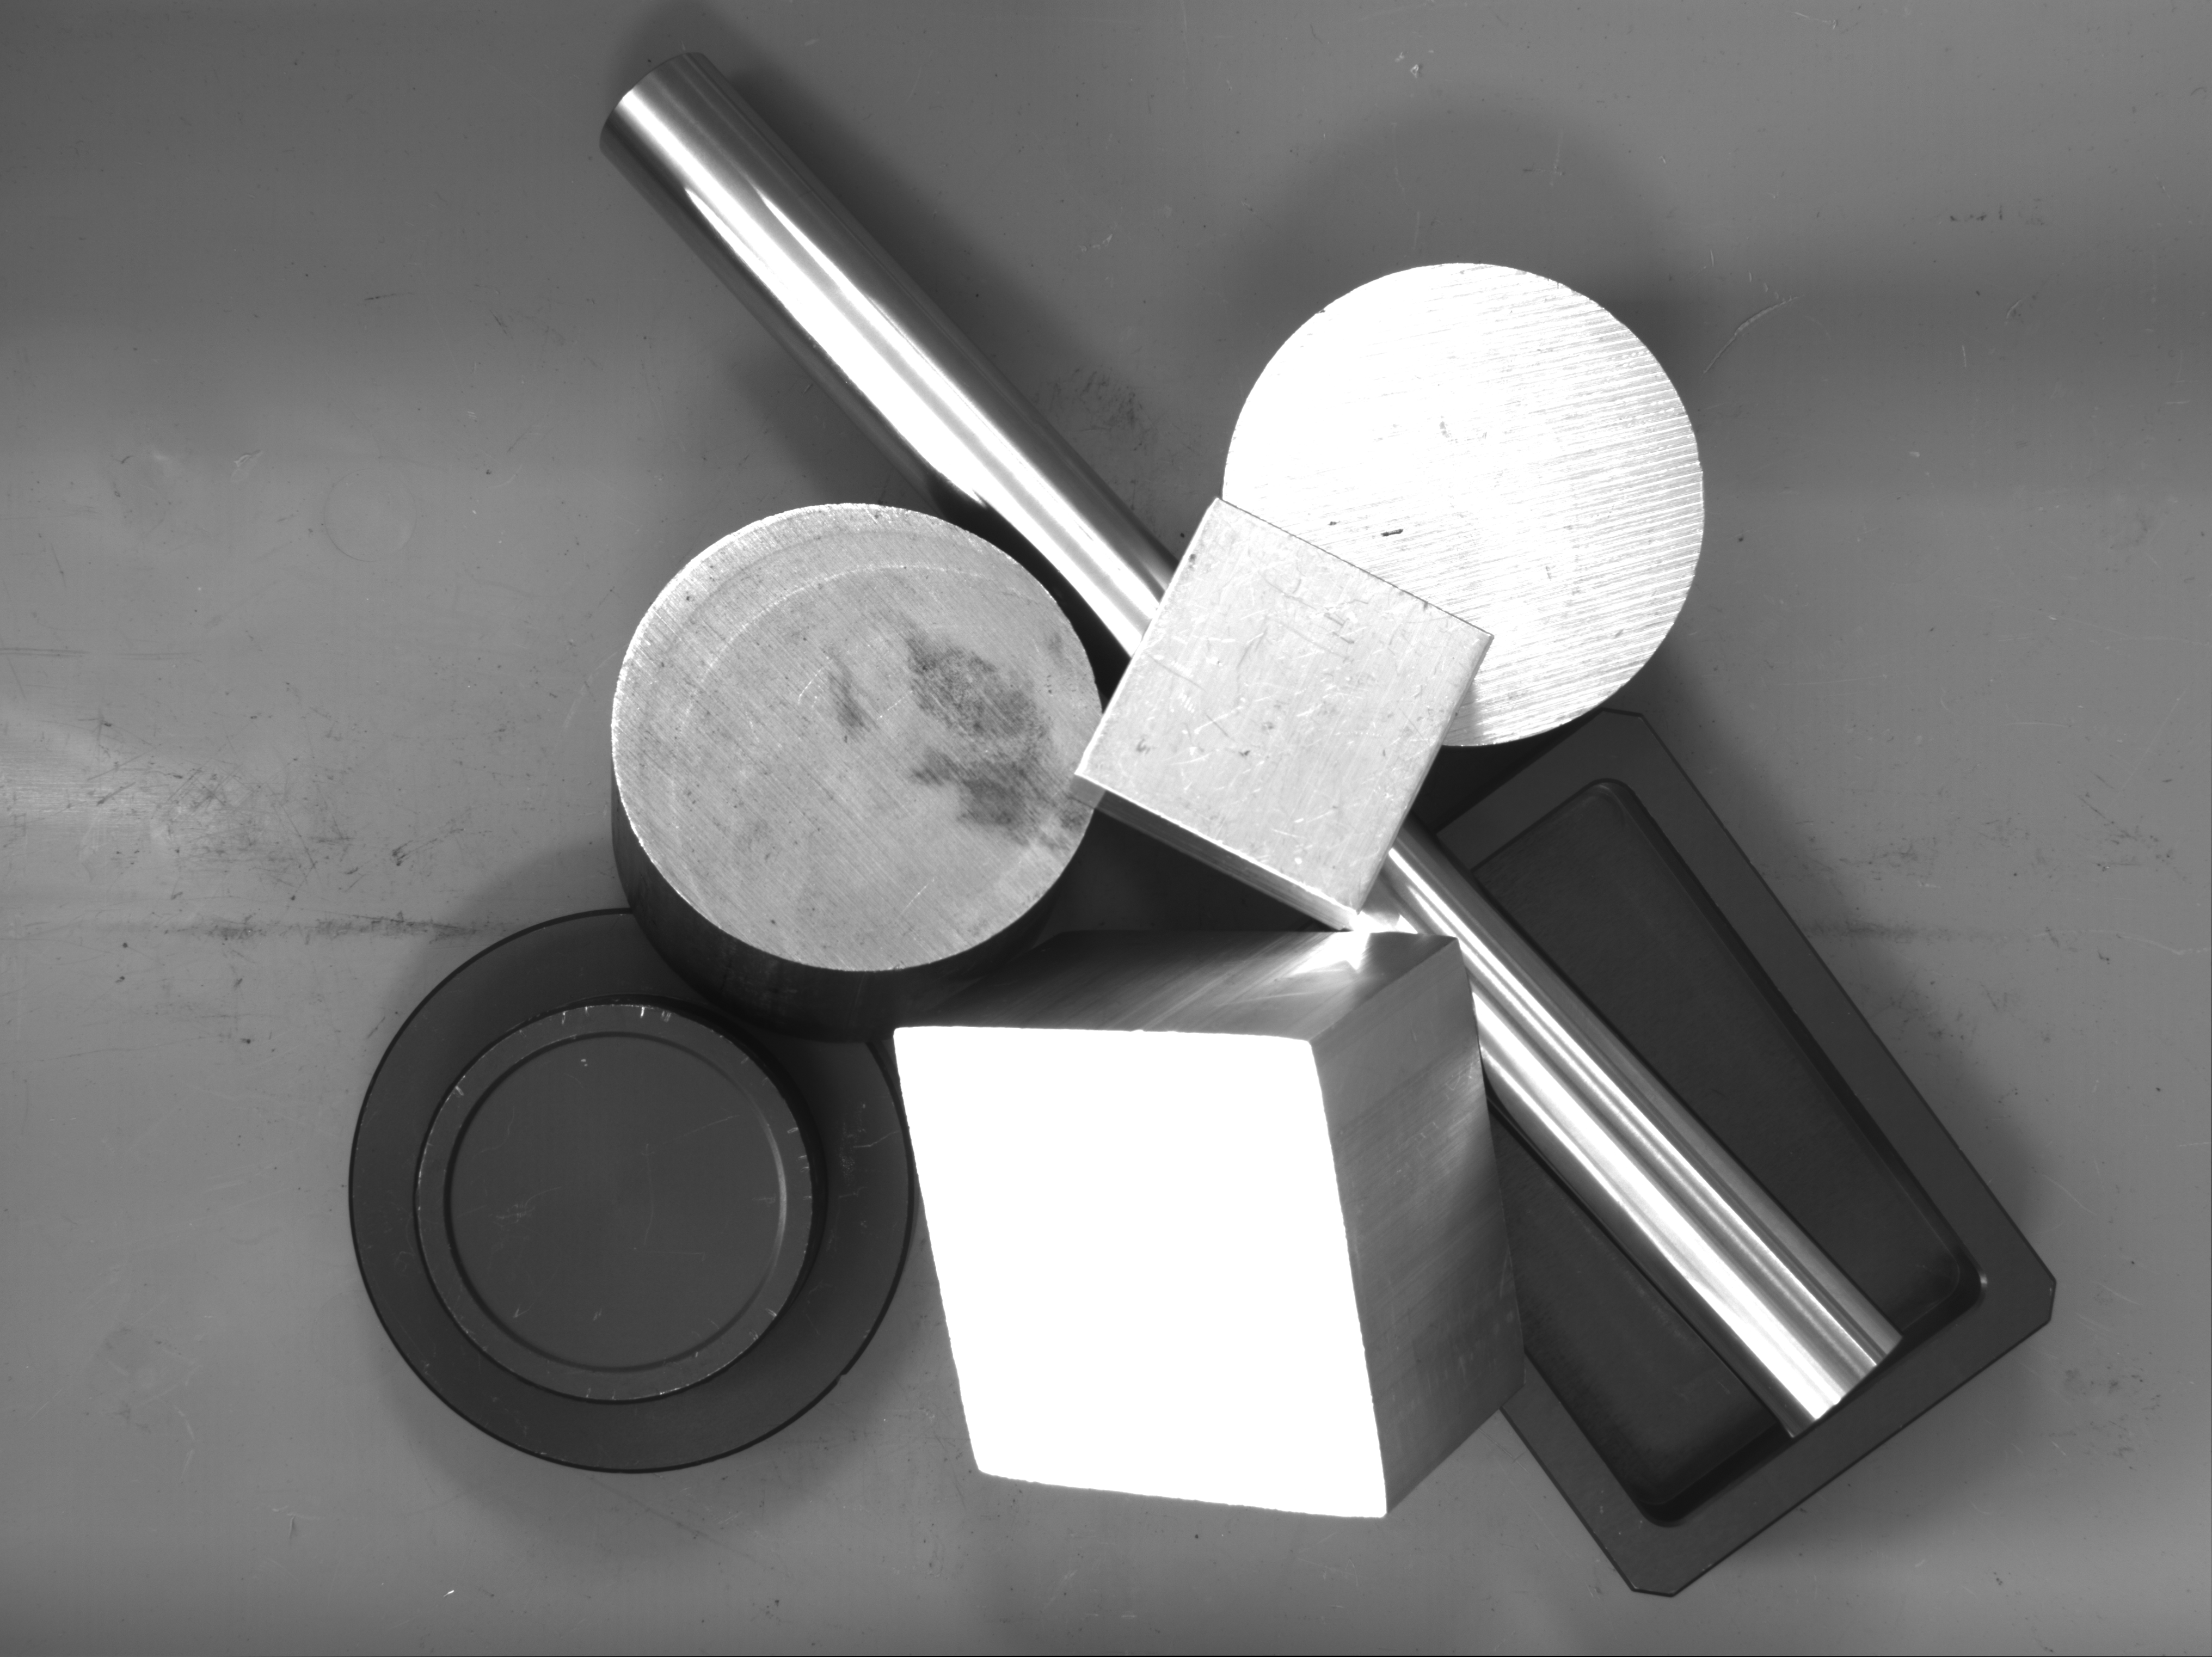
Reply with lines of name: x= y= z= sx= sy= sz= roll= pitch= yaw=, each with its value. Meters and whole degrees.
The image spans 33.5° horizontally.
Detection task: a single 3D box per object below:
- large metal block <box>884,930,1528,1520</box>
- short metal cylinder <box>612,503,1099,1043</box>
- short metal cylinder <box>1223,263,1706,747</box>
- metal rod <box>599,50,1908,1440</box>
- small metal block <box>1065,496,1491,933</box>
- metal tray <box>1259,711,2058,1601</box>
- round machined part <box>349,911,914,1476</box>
large metal block: x=0.017 y=0.063 z=0.606 sx=0.080 sy=0.050 sz=0.080 roll=-1 pitch=107 yaw=33
short metal cylinder: x=-0.043 y=-0.008 z=0.621 sx=0.080 sy=0.050 sz=0.080 roll=2 pitch=73 yaw=-7
short metal cylinder: x=0.059 y=-0.054 z=0.633 sx=0.080 sy=0.050 sz=0.080 roll=0 pitch=90 yaw=0
metal rod: x=0.021 y=-0.018 z=0.620 sx=0.025 sy=0.025 sz=0.300 roll=-43 pitch=81 yaw=0
small metal block: x=0.027 y=-0.018 z=0.592 sx=0.050 sy=0.025 sz=0.050 roll=26 pitch=82 yaw=1
metal tray: x=0.091 y=0.056 z=0.642 sx=0.090 sy=0.030 sz=0.130 roll=-36 pitch=90 yaw=0
round machined part: x=-0.082 y=0.063 z=0.635 sx=0.098 sy=0.042 sz=0.098 roll=0 pitch=90 yaw=0
